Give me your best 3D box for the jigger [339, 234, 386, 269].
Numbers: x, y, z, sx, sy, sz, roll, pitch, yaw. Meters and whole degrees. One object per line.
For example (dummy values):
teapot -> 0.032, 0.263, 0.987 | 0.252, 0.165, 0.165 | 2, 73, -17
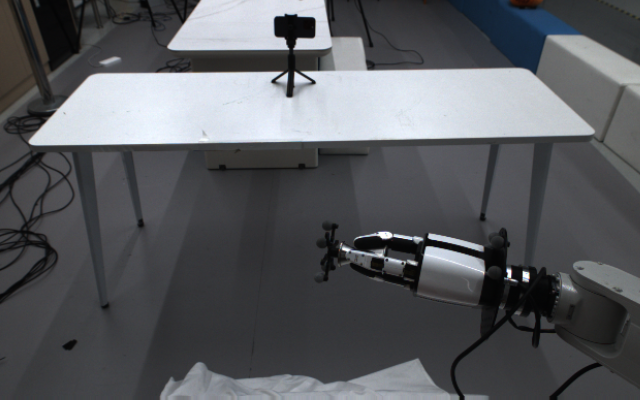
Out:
jigger -> 0.070, 0.081, 0.721 | 0.071, 0.043, 0.043 | 6, 35, 15
